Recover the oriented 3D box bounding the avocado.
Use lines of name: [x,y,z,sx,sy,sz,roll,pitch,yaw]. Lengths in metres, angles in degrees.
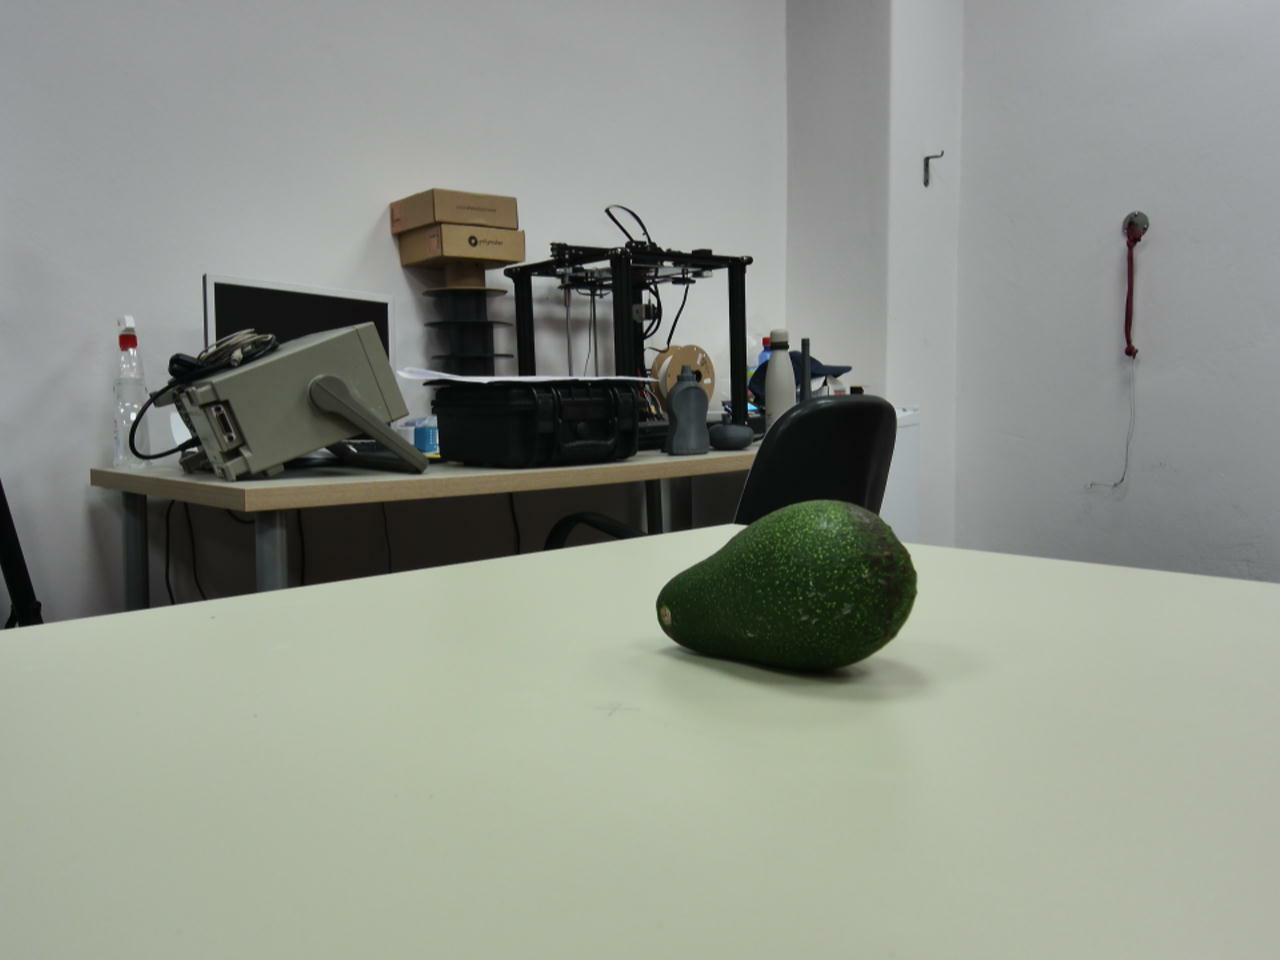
avocado: [0.070,0.047,0.457,0.074,0.076,0.123,-1,3,-34]
